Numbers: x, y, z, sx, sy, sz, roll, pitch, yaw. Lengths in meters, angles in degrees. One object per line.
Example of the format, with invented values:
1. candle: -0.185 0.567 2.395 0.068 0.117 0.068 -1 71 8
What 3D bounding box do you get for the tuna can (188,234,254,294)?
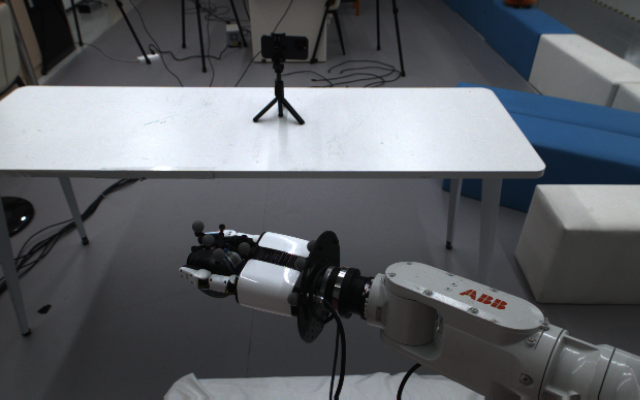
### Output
1. tuna can: -0.153 0.103 0.728 0.085 0.085 0.034 16 29 19
